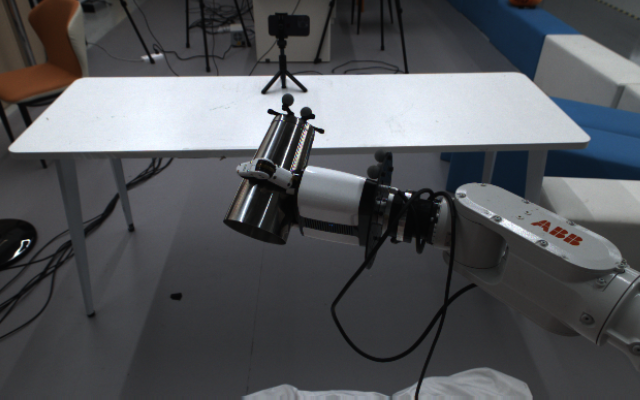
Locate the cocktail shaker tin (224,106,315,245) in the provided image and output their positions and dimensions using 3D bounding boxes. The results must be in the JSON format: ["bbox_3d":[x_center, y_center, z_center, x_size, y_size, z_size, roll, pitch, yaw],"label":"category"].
[{"bbox_3d":[-0.065,-0.031,0.688,0.093,0.093,0.170,14,73,17],"label":"cocktail shaker tin"}]
